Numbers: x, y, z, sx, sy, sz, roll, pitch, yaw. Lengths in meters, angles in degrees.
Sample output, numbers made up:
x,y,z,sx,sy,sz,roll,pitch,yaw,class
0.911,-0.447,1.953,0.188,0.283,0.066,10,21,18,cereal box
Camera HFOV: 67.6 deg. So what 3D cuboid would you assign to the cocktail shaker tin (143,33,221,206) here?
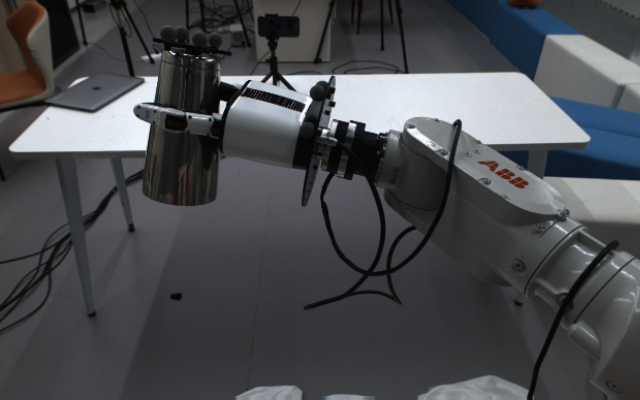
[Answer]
x,y,z,sx,sy,sz,roll,pitch,yaw,class
-0.161,-0.088,0.584,0.093,0.170,0.093,10,19,-3,cocktail shaker tin
